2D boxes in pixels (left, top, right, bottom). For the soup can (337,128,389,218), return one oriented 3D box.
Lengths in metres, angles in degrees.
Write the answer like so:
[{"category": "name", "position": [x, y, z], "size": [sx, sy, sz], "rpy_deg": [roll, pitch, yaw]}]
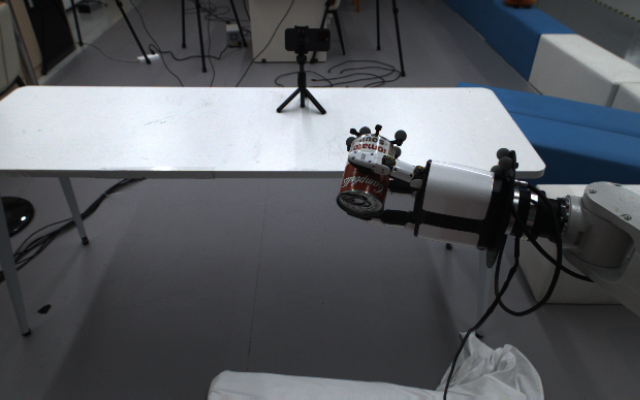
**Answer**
[{"category": "soup can", "position": [0.068, -0.037, 0.693], "size": [0.067, 0.067, 0.101], "rpy_deg": [9, 60, 10]}]
